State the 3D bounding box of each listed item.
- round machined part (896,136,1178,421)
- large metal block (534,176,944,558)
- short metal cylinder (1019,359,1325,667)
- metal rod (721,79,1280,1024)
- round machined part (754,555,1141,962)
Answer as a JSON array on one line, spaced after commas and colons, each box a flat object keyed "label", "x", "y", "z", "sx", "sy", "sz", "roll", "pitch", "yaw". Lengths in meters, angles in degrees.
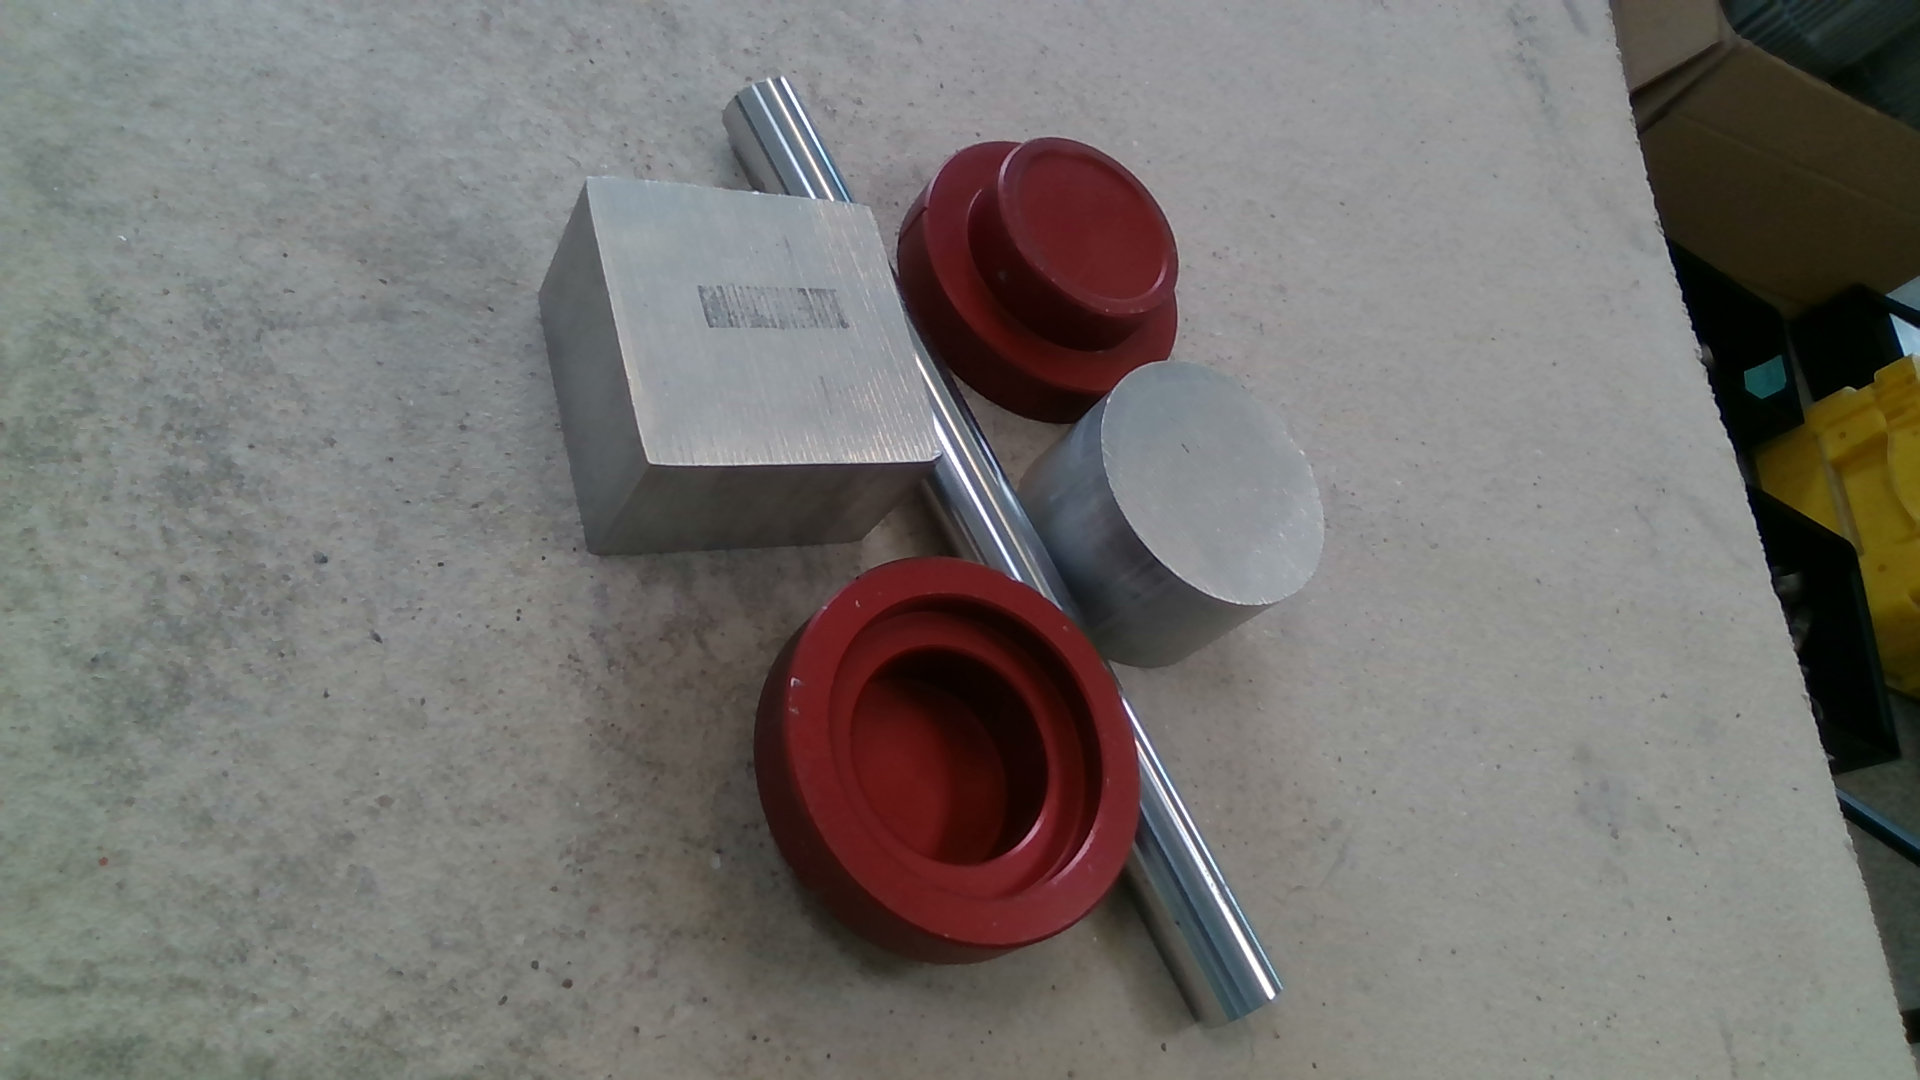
[{"label": "round machined part", "x": 0.032, "y": -0.092, "z": 0.451, "sx": 0.098, "sy": 0.042, "sz": 0.098, "roll": 14, "pitch": 59, "yaw": -25}, {"label": "large metal block", "x": -0.060, "y": -0.044, "z": 0.365, "sx": 0.080, "sy": 0.050, "sz": 0.080, "roll": -3, "pitch": 67, "yaw": -33}, {"label": "short metal cylinder", "x": 0.063, "y": -0.008, "z": 0.420, "sx": 0.080, "sy": 0.050, "sz": 0.080, "roll": 14, "pitch": 59, "yaw": -25}, {"label": "metal rod", "x": 0.007, "y": -0.005, "z": 0.401, "sx": 0.025, "sy": 0.025, "sz": 0.300, "roll": -20, "pitch": 77, "yaw": -37}, {"label": "round machined part", "x": -0.006, "y": 0.057, "z": 0.348, "sx": 0.098, "sy": 0.042, "sz": 0.098, "roll": 14, "pitch": 59, "yaw": -25}]
